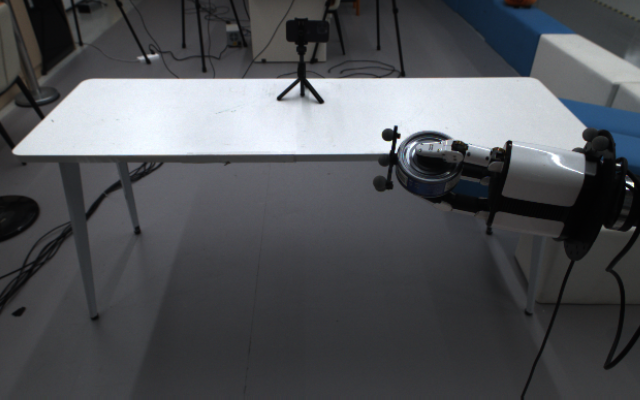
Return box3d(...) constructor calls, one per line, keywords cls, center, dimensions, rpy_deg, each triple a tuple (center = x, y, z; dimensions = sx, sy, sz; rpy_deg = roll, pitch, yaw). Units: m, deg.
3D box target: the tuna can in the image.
box3d(cls="tuna can", center=(0.143, -0.050, 0.628), dimensions=(0.085, 0.034, 0.085), rpy_deg=(-2, 57, 3))
